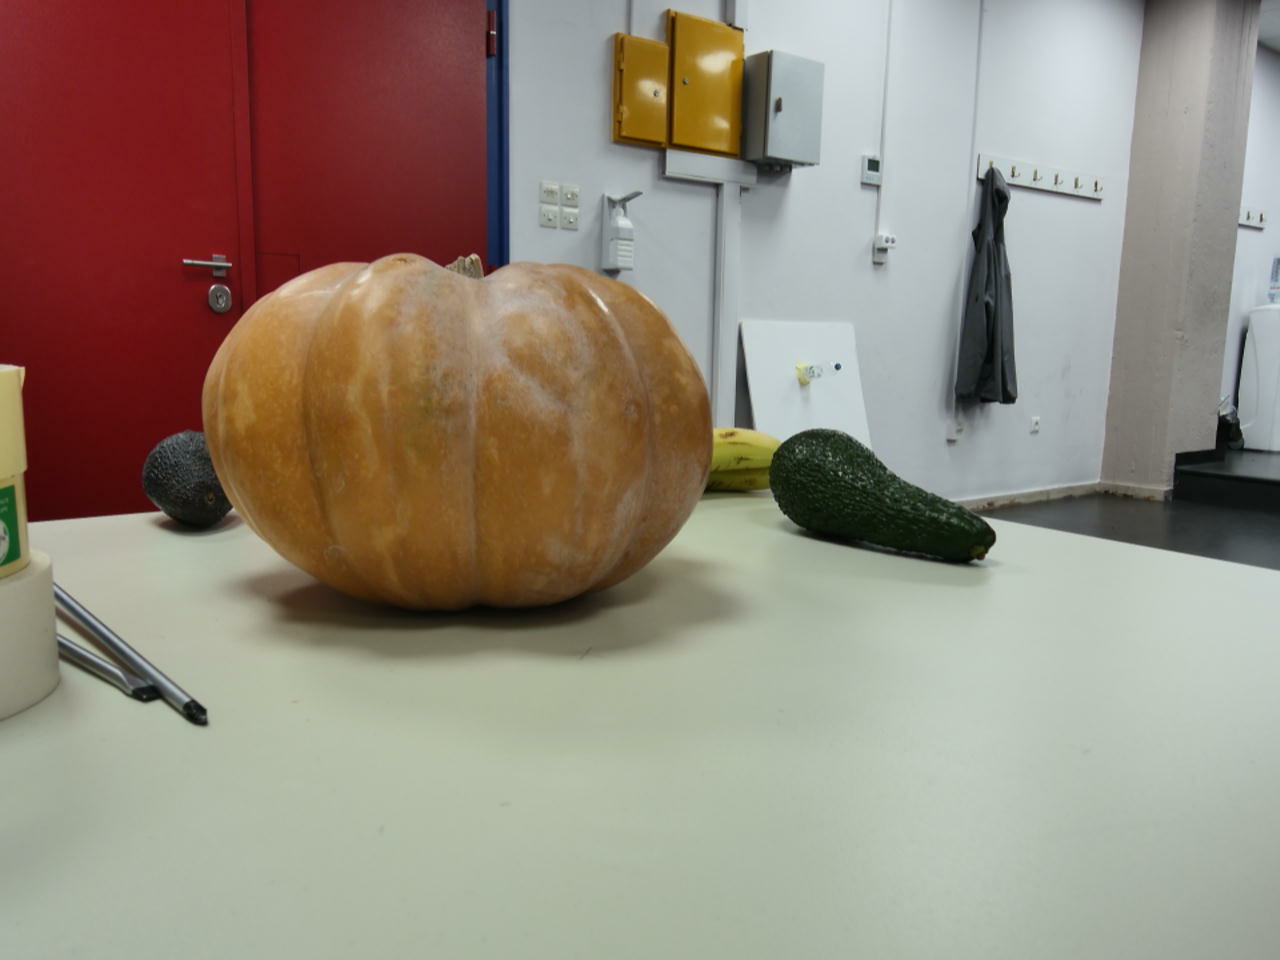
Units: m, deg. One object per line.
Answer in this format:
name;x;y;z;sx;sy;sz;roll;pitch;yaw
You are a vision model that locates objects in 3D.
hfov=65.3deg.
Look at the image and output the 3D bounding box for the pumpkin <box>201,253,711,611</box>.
pumpkin;-0.093;-0.029;0.539;0.277;0.181;0.277;0;7;0
